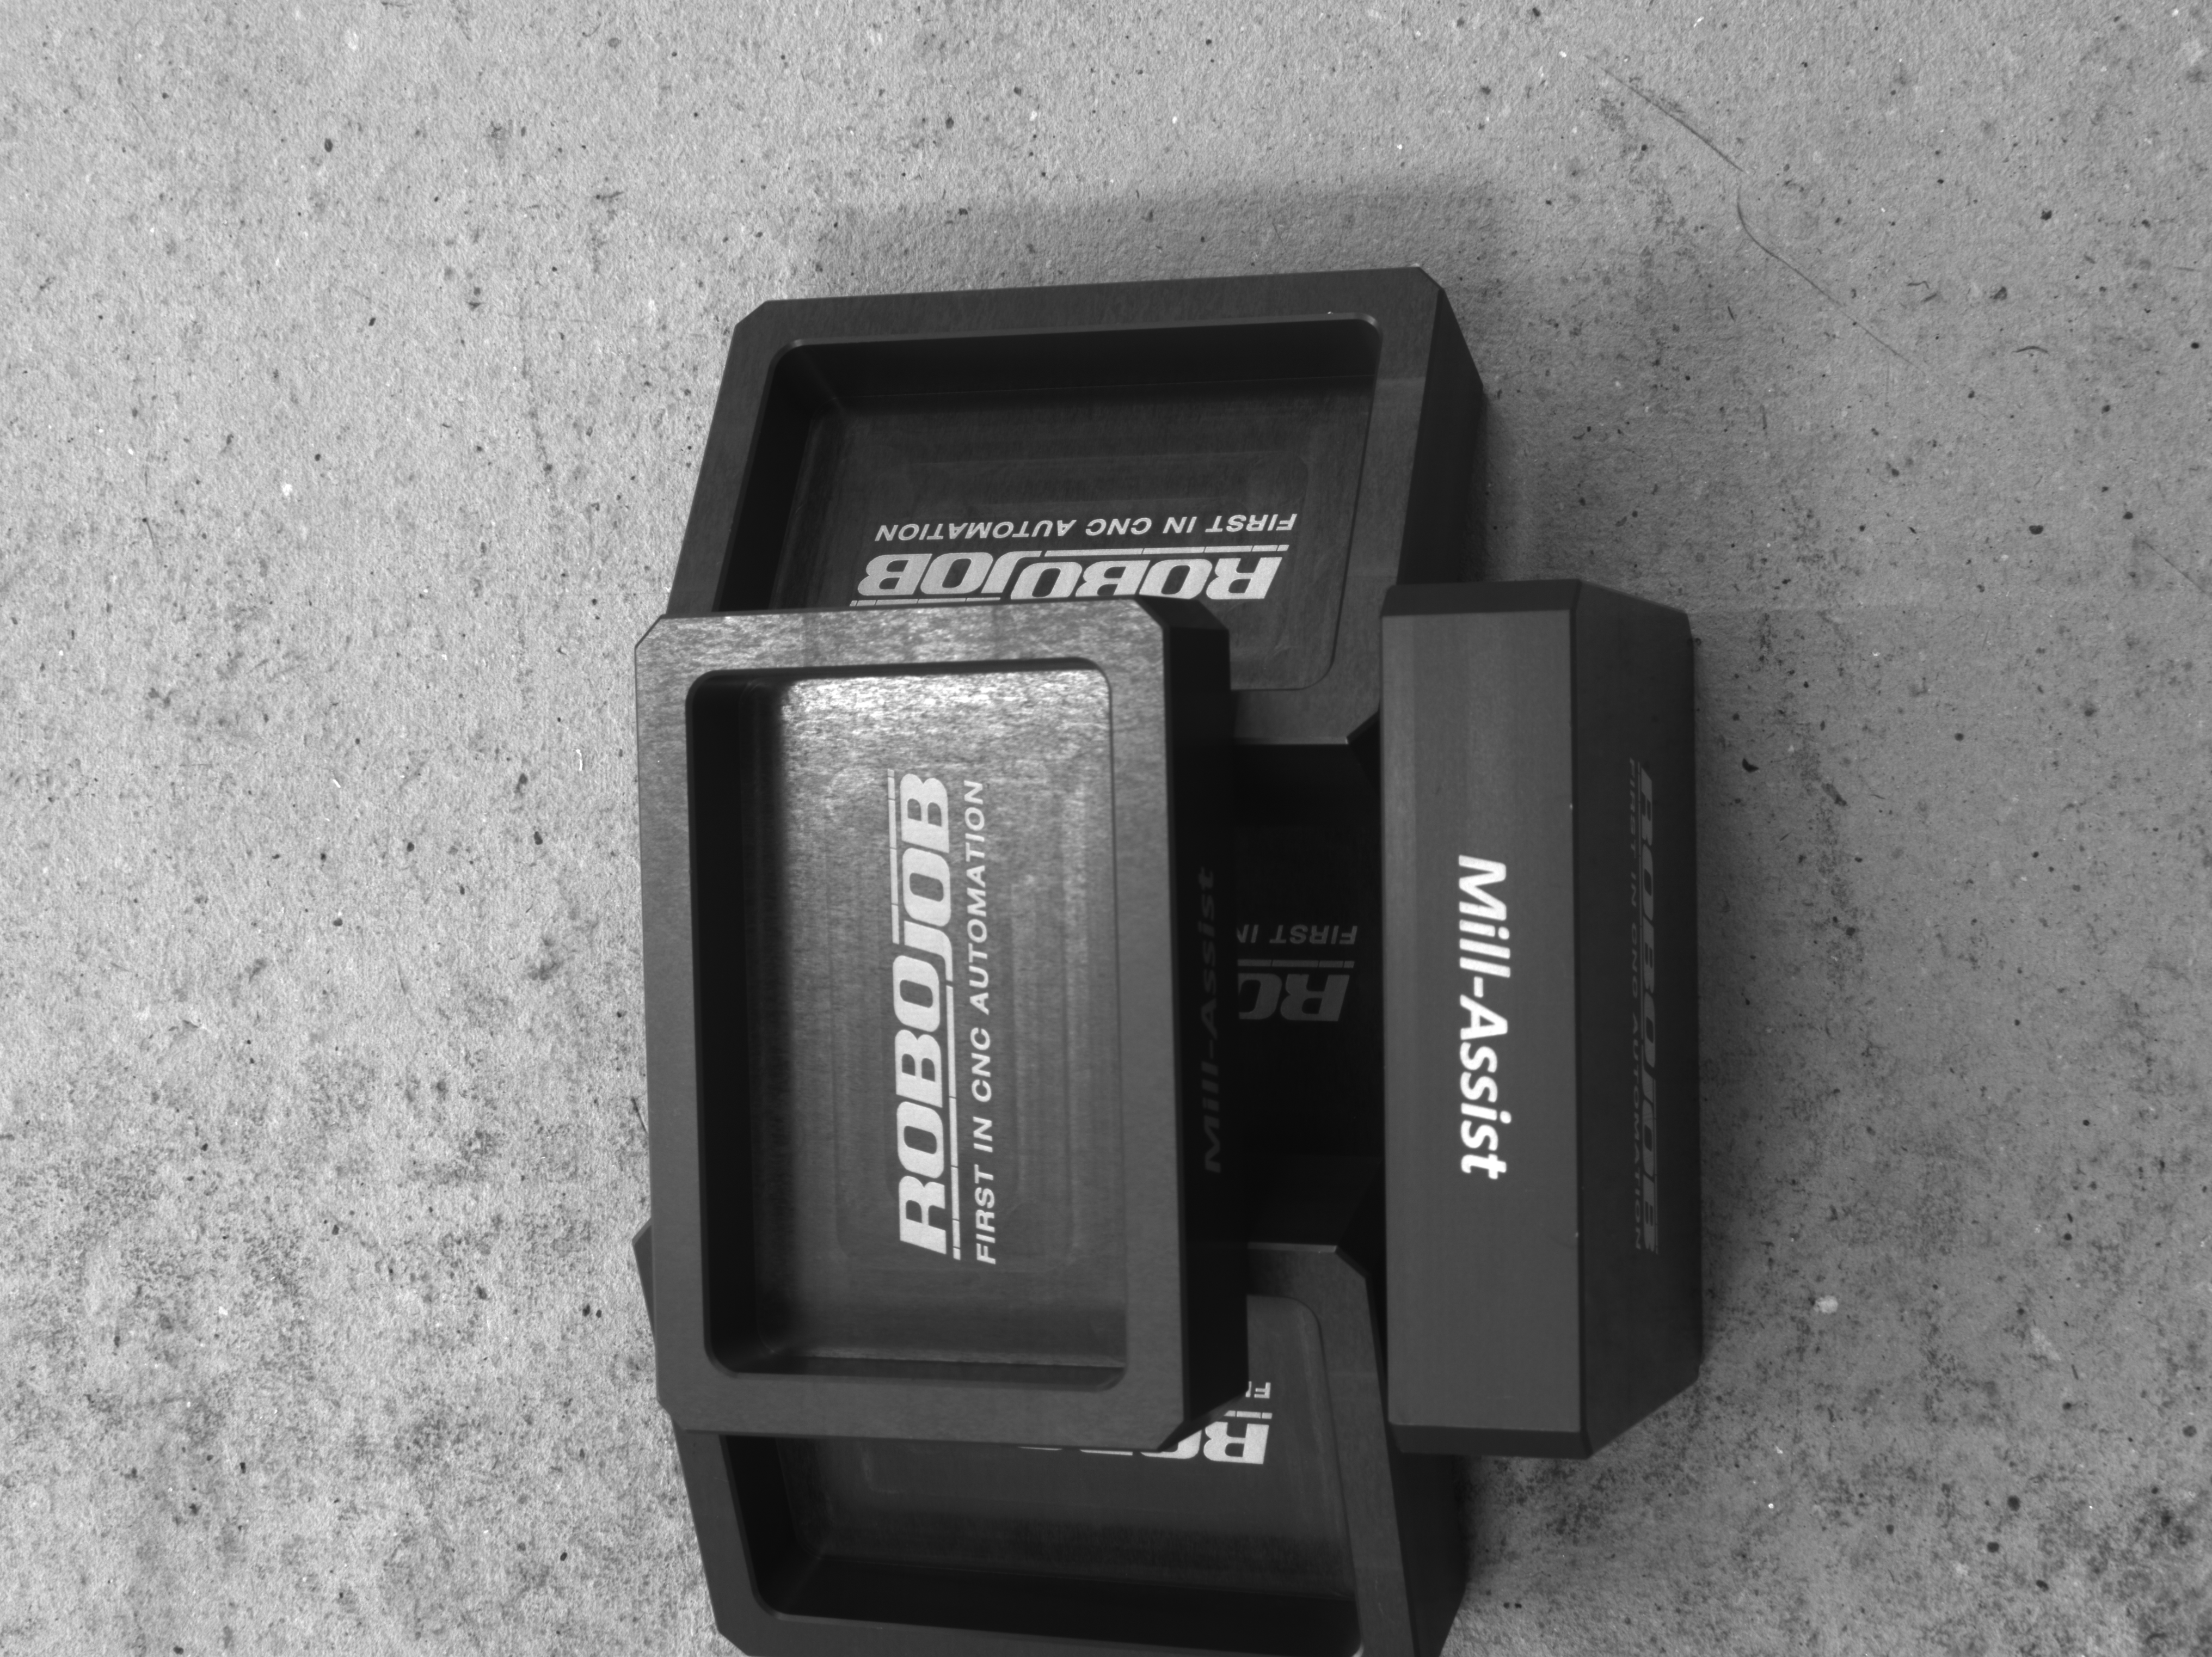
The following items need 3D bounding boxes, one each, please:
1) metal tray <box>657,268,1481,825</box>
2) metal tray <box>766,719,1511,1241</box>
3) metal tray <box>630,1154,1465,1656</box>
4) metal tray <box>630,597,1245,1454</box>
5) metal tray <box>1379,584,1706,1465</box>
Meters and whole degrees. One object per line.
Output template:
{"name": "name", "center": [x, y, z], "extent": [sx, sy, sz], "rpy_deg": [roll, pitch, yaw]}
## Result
{"name": "metal tray", "center": [-0.007, -0.047, 0.628], "extent": [0.130, 0.030, 0.090], "rpy_deg": [0, 63, 20]}
{"name": "metal tray", "center": [0.004, 0.024, 0.641], "extent": [0.130, 0.030, 0.090], "rpy_deg": [-1, 91, 20]}
{"name": "metal tray", "center": [-0.009, 0.101, 0.629], "extent": [0.130, 0.030, 0.090], "rpy_deg": [0, 115, 20]}
{"name": "metal tray", "center": [-0.027, 0.030, 0.584], "extent": [0.090, 0.030, 0.130], "rpy_deg": [-1, 92, 20]}
{"name": "metal tray", "center": [0.071, 0.029, 0.586], "extent": [0.030, 0.090, 0.130], "rpy_deg": [-1, 90, 20]}
